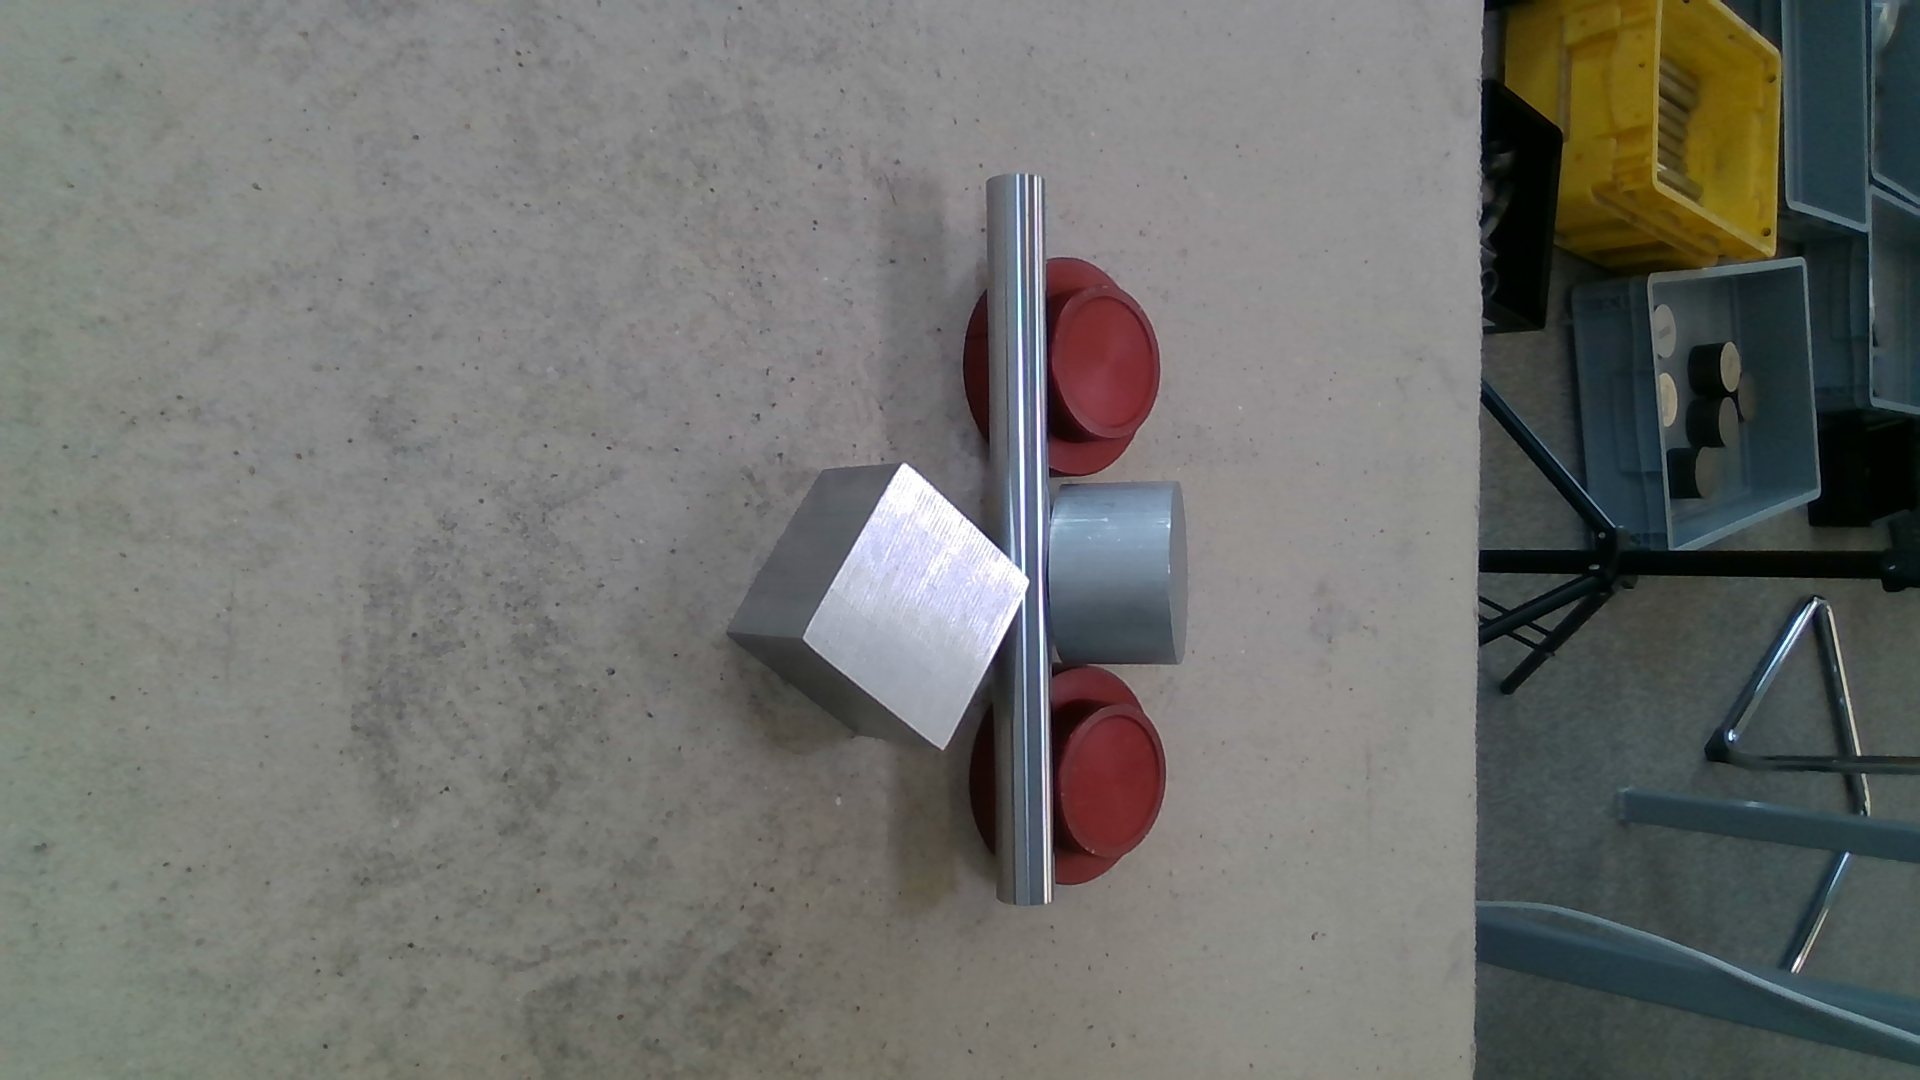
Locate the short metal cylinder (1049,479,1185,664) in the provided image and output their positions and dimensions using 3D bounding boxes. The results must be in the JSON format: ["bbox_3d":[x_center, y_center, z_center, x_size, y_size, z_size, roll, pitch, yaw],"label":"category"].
[{"bbox_3d":[0.071,0.014,0.603,0.080,0.050,0.080,0,89,-76],"label":"short metal cylinder"}]

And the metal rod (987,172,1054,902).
[{"bbox_3d":[0.026,-0.001,0.578,0.025,0.025,0.300,-2,91,-40],"label":"metal rod"}]

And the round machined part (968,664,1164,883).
[{"bbox_3d":[0.054,0.105,0.619,0.098,0.042,0.098,0,90,-40],"label":"round machined part"}]

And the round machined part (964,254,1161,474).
[{"bbox_3d":[0.052,-0.079,0.616,0.098,0.042,0.098,0,90,-40],"label":"round machined part"}]

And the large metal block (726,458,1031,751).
[{"bbox_3d":[-0.030,0.025,0.539,0.080,0.050,0.080,43,64,-32],"label":"large metal block"}]
